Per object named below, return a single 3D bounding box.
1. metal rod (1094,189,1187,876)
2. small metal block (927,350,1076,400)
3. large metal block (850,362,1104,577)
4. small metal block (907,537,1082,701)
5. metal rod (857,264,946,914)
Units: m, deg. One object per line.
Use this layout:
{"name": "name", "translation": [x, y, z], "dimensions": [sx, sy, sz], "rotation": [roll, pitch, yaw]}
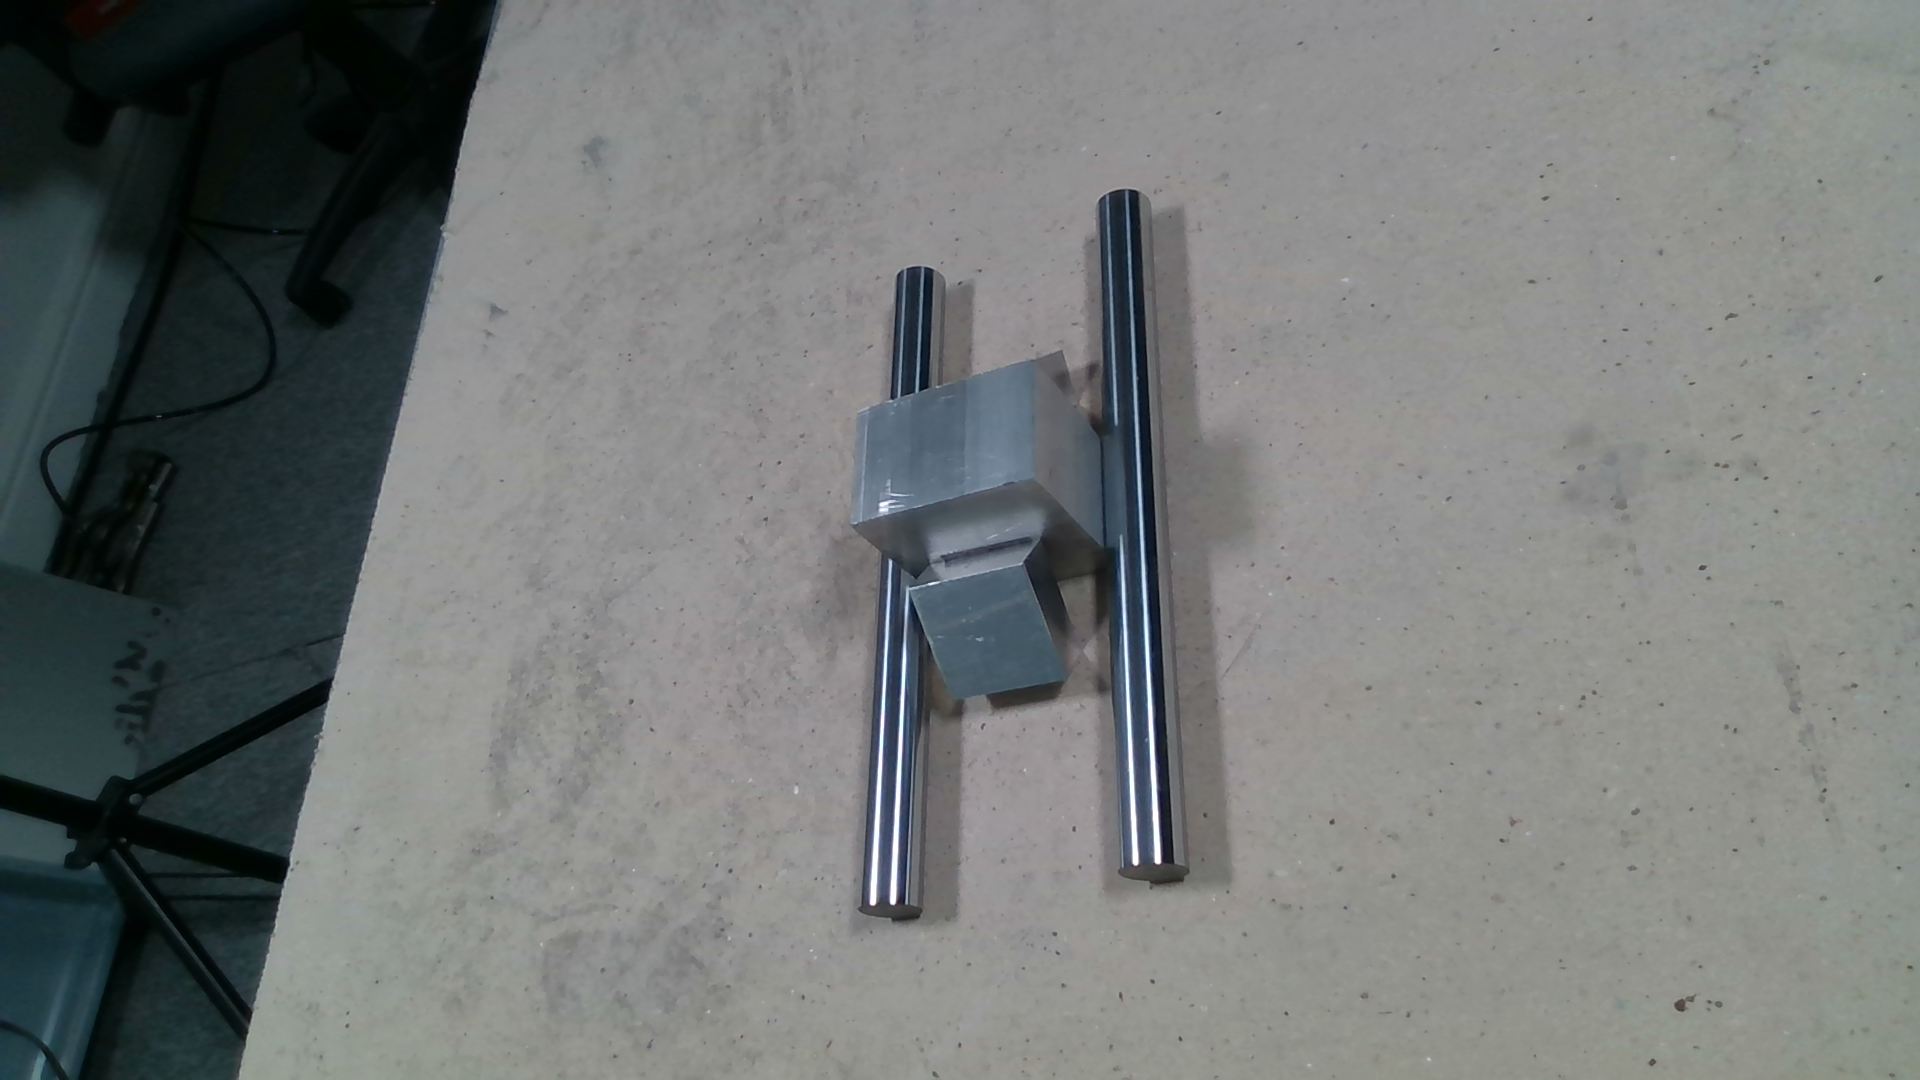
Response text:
{"name": "metal rod", "translation": [0.070, -0.017, 0.551], "dimensions": [0.025, 0.025, 0.299], "rotation": [-13, 59, 26]}
{"name": "small metal block", "translation": [0.017, -0.060, 0.589], "dimensions": [0.050, 0.050, 0.025], "rotation": [-14, 98, 26]}
{"name": "large metal block", "translation": [0.012, -0.020, 0.556], "dimensions": [0.080, 0.080, 0.050], "rotation": [-14, 59, 25]}
{"name": "small metal block", "translation": [0.014, 0.032, 0.542], "dimensions": [0.050, 0.050, 0.025], "rotation": [-13, 18, 25]}
{"name": "metal rod", "translation": [-0.023, 0.008, 0.596], "dimensions": [0.025, 0.025, 0.299], "rotation": [-13, 60, 26]}
